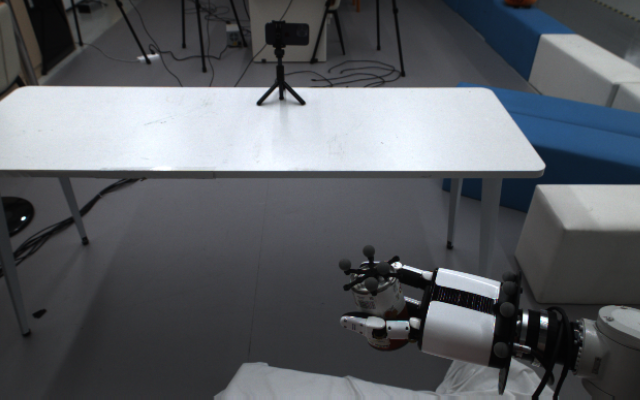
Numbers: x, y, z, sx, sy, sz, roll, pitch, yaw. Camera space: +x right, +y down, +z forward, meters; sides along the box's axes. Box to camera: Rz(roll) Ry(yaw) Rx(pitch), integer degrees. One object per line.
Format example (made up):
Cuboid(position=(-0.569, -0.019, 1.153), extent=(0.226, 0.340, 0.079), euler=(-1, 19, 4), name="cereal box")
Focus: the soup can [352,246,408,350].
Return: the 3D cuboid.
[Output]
Cuboid(position=(0.087, 0.146, 0.665), extent=(0.067, 0.101, 0.067), euler=(-16, 23, 7), name="soup can")
